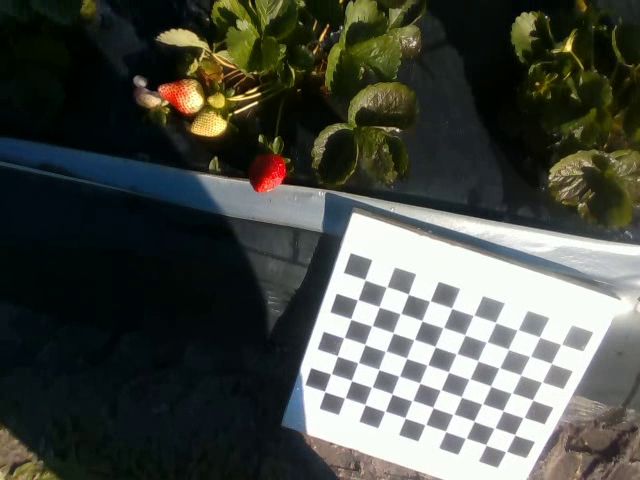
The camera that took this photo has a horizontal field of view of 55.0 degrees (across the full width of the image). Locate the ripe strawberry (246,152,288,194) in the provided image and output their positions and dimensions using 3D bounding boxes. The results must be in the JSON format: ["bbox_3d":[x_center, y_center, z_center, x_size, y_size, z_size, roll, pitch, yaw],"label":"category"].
[{"bbox_3d":[-0.046,-0.052,0.485,0.036,0.038,0.046,17,33,1],"label":"ripe strawberry"}]
